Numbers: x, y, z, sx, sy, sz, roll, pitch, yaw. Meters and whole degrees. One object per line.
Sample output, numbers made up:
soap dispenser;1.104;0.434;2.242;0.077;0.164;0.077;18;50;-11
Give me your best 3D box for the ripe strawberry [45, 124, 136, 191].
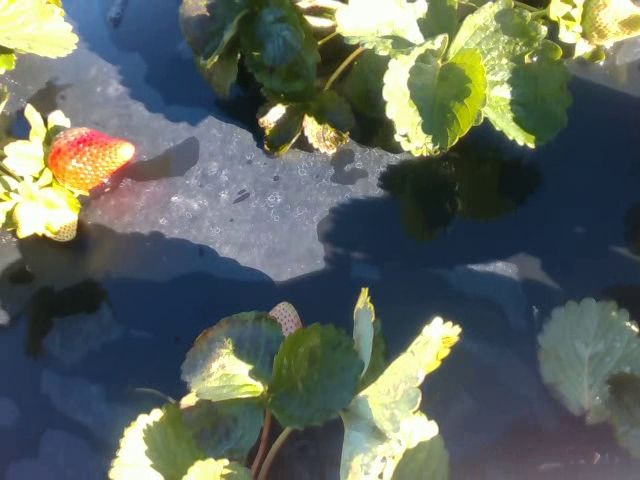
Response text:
ripe strawberry;-0.145;-0.054;0.402;0.064;0.050;0.052;-10;14;12
